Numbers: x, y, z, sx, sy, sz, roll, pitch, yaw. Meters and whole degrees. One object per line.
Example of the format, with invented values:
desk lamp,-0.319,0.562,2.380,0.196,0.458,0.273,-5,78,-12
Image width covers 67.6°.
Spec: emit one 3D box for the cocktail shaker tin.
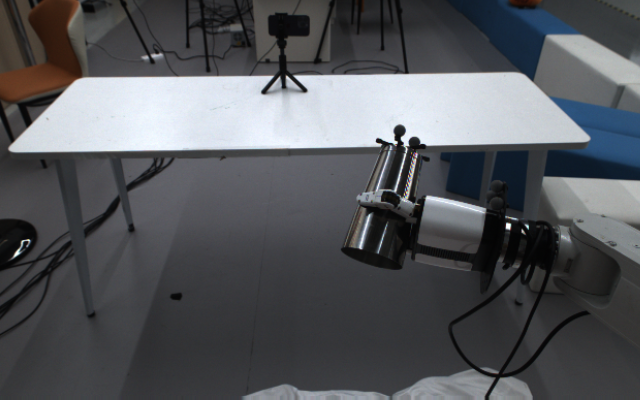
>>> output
cocktail shaker tin,0.099,0.008,0.717,0.093,0.093,0.170,14,73,16
